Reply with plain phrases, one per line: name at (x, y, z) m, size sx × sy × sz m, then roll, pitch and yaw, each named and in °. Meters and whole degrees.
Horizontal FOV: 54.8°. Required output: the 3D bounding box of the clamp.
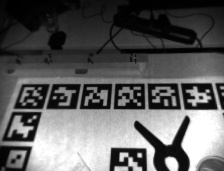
clamp at (0.153, 0.179, 0.605) m, size 0.165 × 0.037 × 0.201 m, roll -9°, pitch 58°, yaw -1°

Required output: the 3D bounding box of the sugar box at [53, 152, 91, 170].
sugar box at (-0.077, 0.268, 0.544) m, size 0.093 × 0.046 × 0.174 m, roll -32°, pitch 54°, yaw -15°

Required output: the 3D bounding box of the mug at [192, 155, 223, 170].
mug at (0.236, 0.238, 0.524) m, size 0.093 × 0.082 × 0.116 m, roll -24°, pitch 55°, yaw -10°
